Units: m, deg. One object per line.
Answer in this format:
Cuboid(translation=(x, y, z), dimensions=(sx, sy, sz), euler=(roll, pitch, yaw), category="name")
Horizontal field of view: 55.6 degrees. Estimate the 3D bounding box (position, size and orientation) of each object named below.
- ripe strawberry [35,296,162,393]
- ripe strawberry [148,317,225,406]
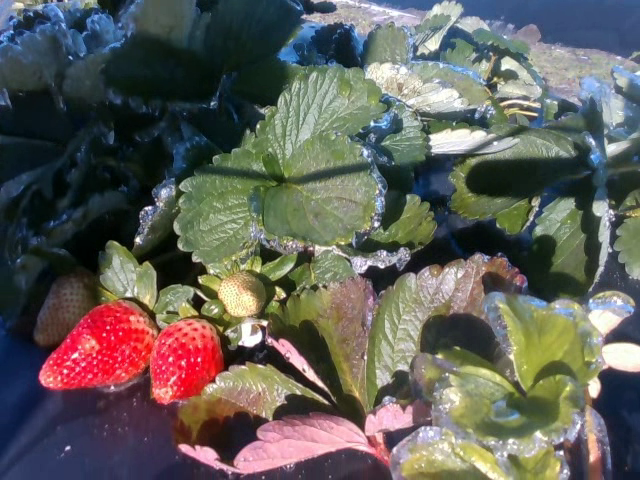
Cuboid(translation=(-0.095, 0.050, 0.249), dimensions=(0.036, 0.040, 0.051), euler=(-5, 15, 39), category="ripe strawberry")
Cuboid(translation=(-0.056, 0.051, 0.241), dimensions=(0.036, 0.041, 0.030), euler=(-26, -54, 22), category="ripe strawberry")
